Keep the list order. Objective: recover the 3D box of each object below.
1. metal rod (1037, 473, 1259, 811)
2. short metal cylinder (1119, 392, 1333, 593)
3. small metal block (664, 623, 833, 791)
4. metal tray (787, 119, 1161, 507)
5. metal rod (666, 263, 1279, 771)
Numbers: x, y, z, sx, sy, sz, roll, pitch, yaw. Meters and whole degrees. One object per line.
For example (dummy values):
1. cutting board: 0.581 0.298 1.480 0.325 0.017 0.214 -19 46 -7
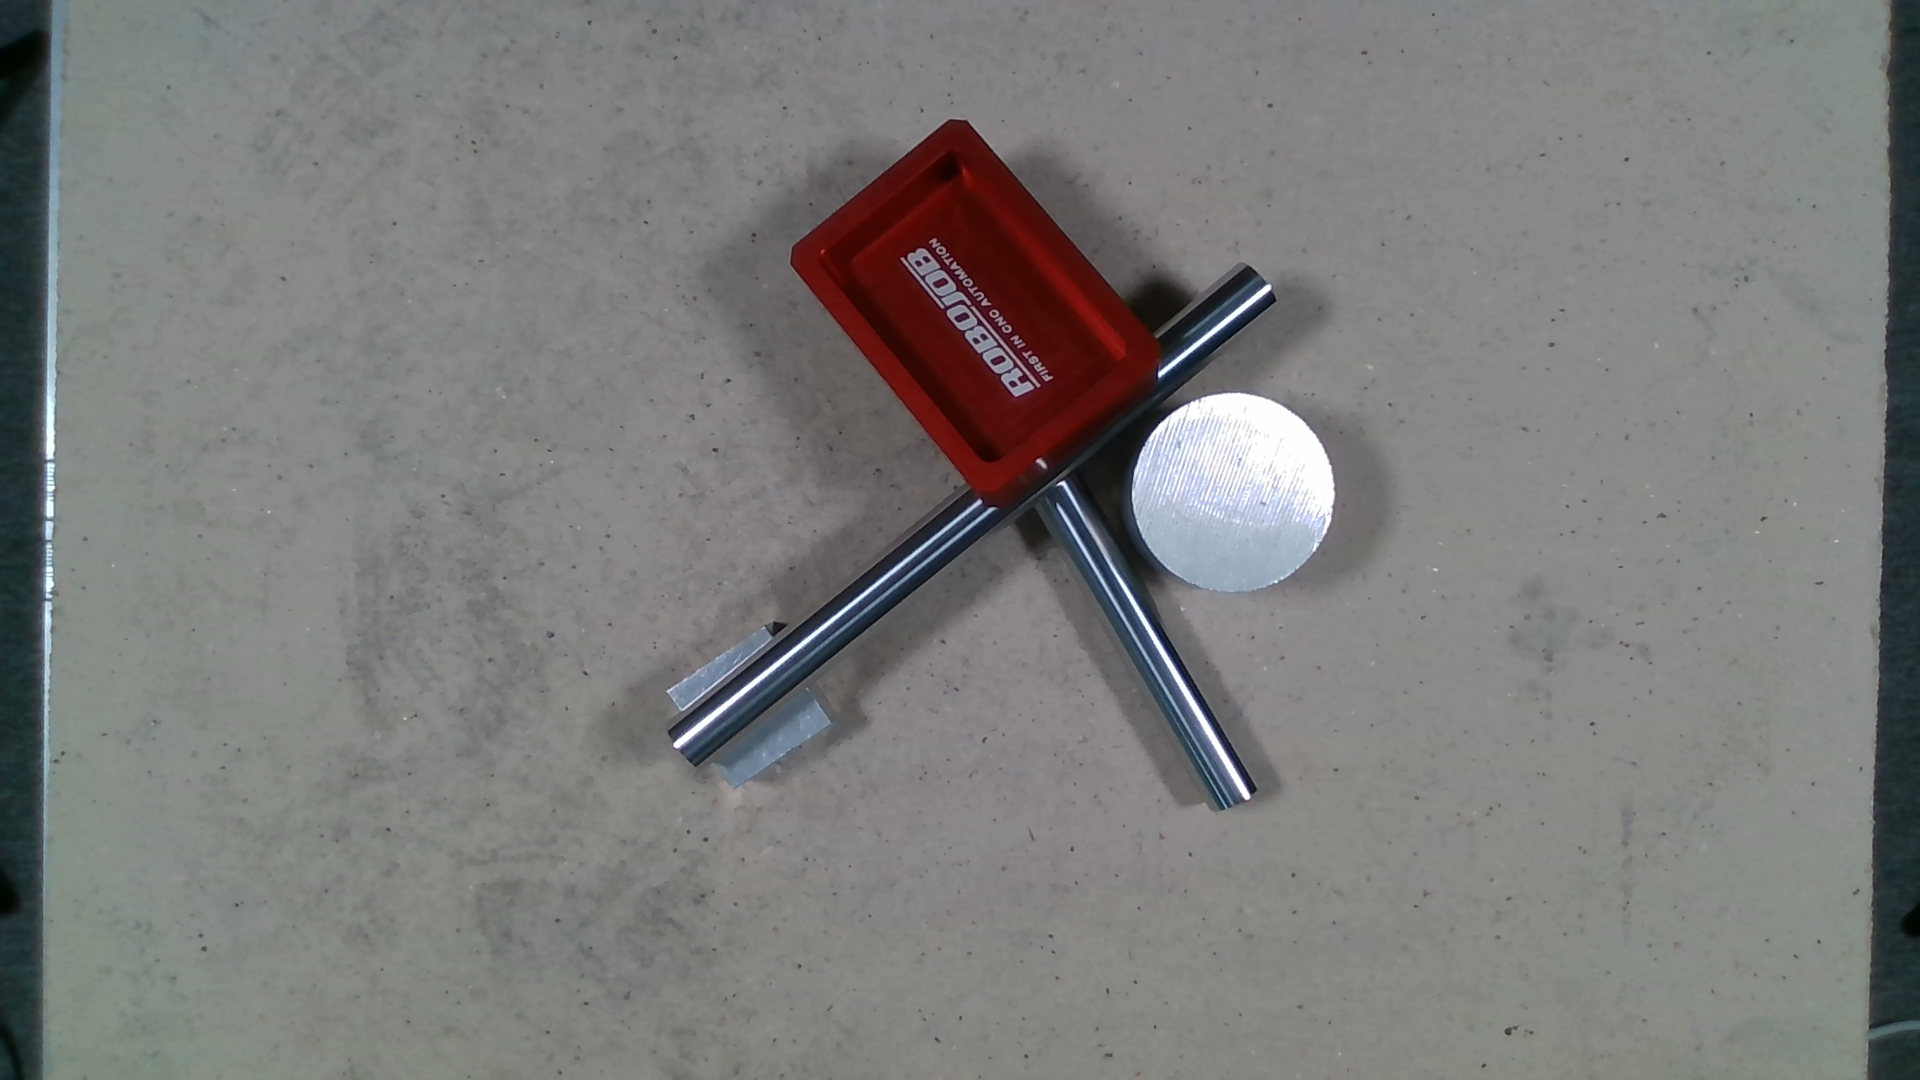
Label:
1. metal rod: 0.041 -0.020 0.587 0.025 0.025 0.300 -30 90 0
2. short metal cylinder: 0.109 -0.019 0.574 0.080 0.050 0.080 0 90 0
3. small metal block: -0.089 0.070 0.587 0.050 0.025 0.050 -34 90 0
4. metal tray: 0.006 -0.090 0.545 0.090 0.030 0.130 -39 79 0
5. metal rod: 0.005 -0.009 0.562 0.300 0.025 0.025 -39 90 0
